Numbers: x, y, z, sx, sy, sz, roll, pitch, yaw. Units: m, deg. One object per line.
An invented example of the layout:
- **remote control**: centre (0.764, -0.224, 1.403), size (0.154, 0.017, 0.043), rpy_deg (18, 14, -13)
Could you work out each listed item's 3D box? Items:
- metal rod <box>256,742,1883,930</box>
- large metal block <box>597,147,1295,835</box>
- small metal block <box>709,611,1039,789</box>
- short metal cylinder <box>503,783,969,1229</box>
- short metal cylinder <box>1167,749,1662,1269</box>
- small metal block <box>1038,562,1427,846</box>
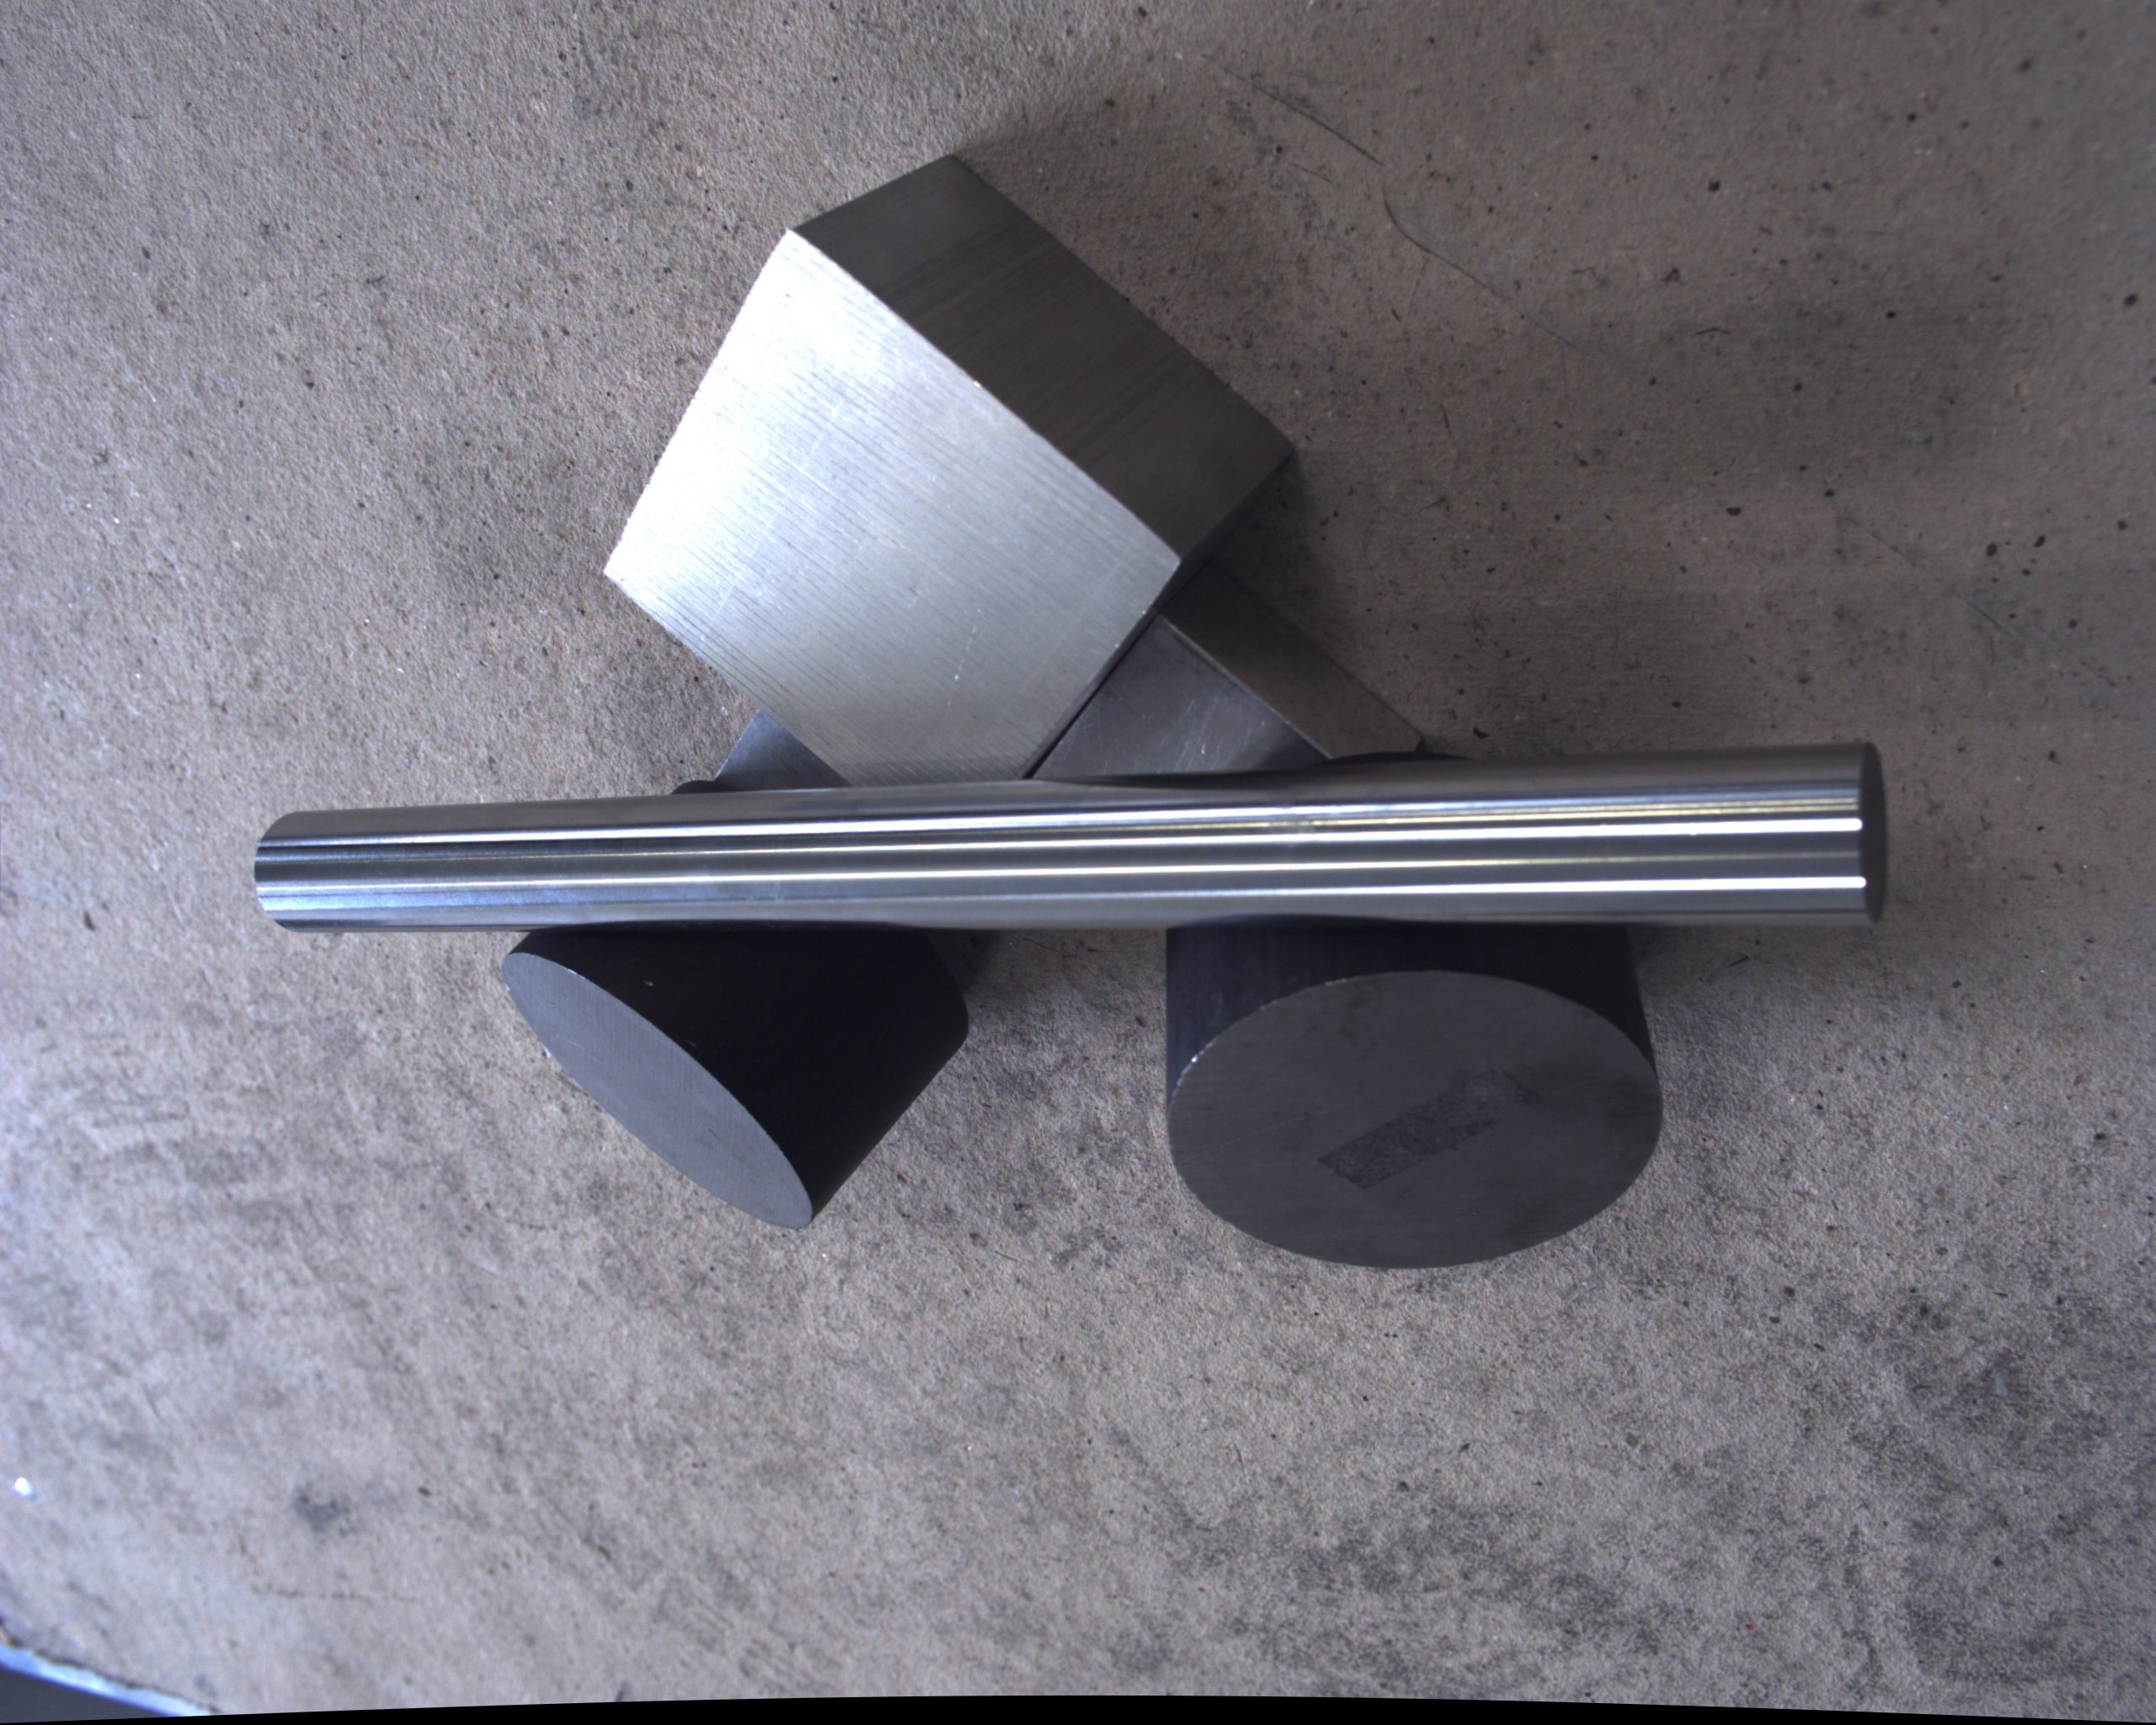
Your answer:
- **metal rod**: centre (-0.025, -0.001, 0.354), size (0.300, 0.025, 0.025), rpy_deg (-1, 118, 28)
- **large metal block**: centre (-0.024, -0.062, 0.364), size (0.080, 0.050, 0.080), rpy_deg (41, 129, 0)
- **small metal block**: centre (-0.038, -0.020, 0.416), size (0.050, 0.025, 0.050), rpy_deg (40, 128, 1)
- **short metal cylinder**: centre (-0.070, 0.030, 0.429), size (0.080, 0.050, 0.080), rpy_deg (31, 153, 19)
- **short metal cylinder**: centre (0.056, 0.027, 0.361), size (0.080, 0.050, 0.080), rpy_deg (1, 135, 2)
- **small metal block**: centre (0.026, -0.018, 0.383), size (0.050, 0.025, 0.050), rpy_deg (40, 129, 1)
